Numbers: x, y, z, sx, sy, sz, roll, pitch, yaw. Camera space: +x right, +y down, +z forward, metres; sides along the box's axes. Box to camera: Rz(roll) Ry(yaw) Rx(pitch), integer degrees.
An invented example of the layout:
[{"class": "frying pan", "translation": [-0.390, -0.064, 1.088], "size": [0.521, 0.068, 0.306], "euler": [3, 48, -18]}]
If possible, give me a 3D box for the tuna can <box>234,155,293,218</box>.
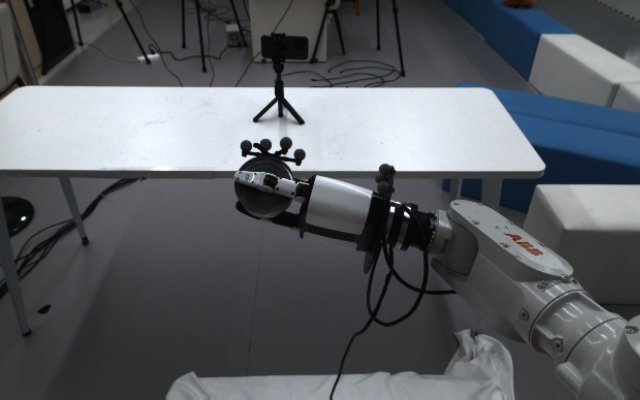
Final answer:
[{"class": "tuna can", "translation": [-0.078, -0.019, 0.697], "size": [0.085, 0.034, 0.085], "euler": [1, 73, -3]}]
